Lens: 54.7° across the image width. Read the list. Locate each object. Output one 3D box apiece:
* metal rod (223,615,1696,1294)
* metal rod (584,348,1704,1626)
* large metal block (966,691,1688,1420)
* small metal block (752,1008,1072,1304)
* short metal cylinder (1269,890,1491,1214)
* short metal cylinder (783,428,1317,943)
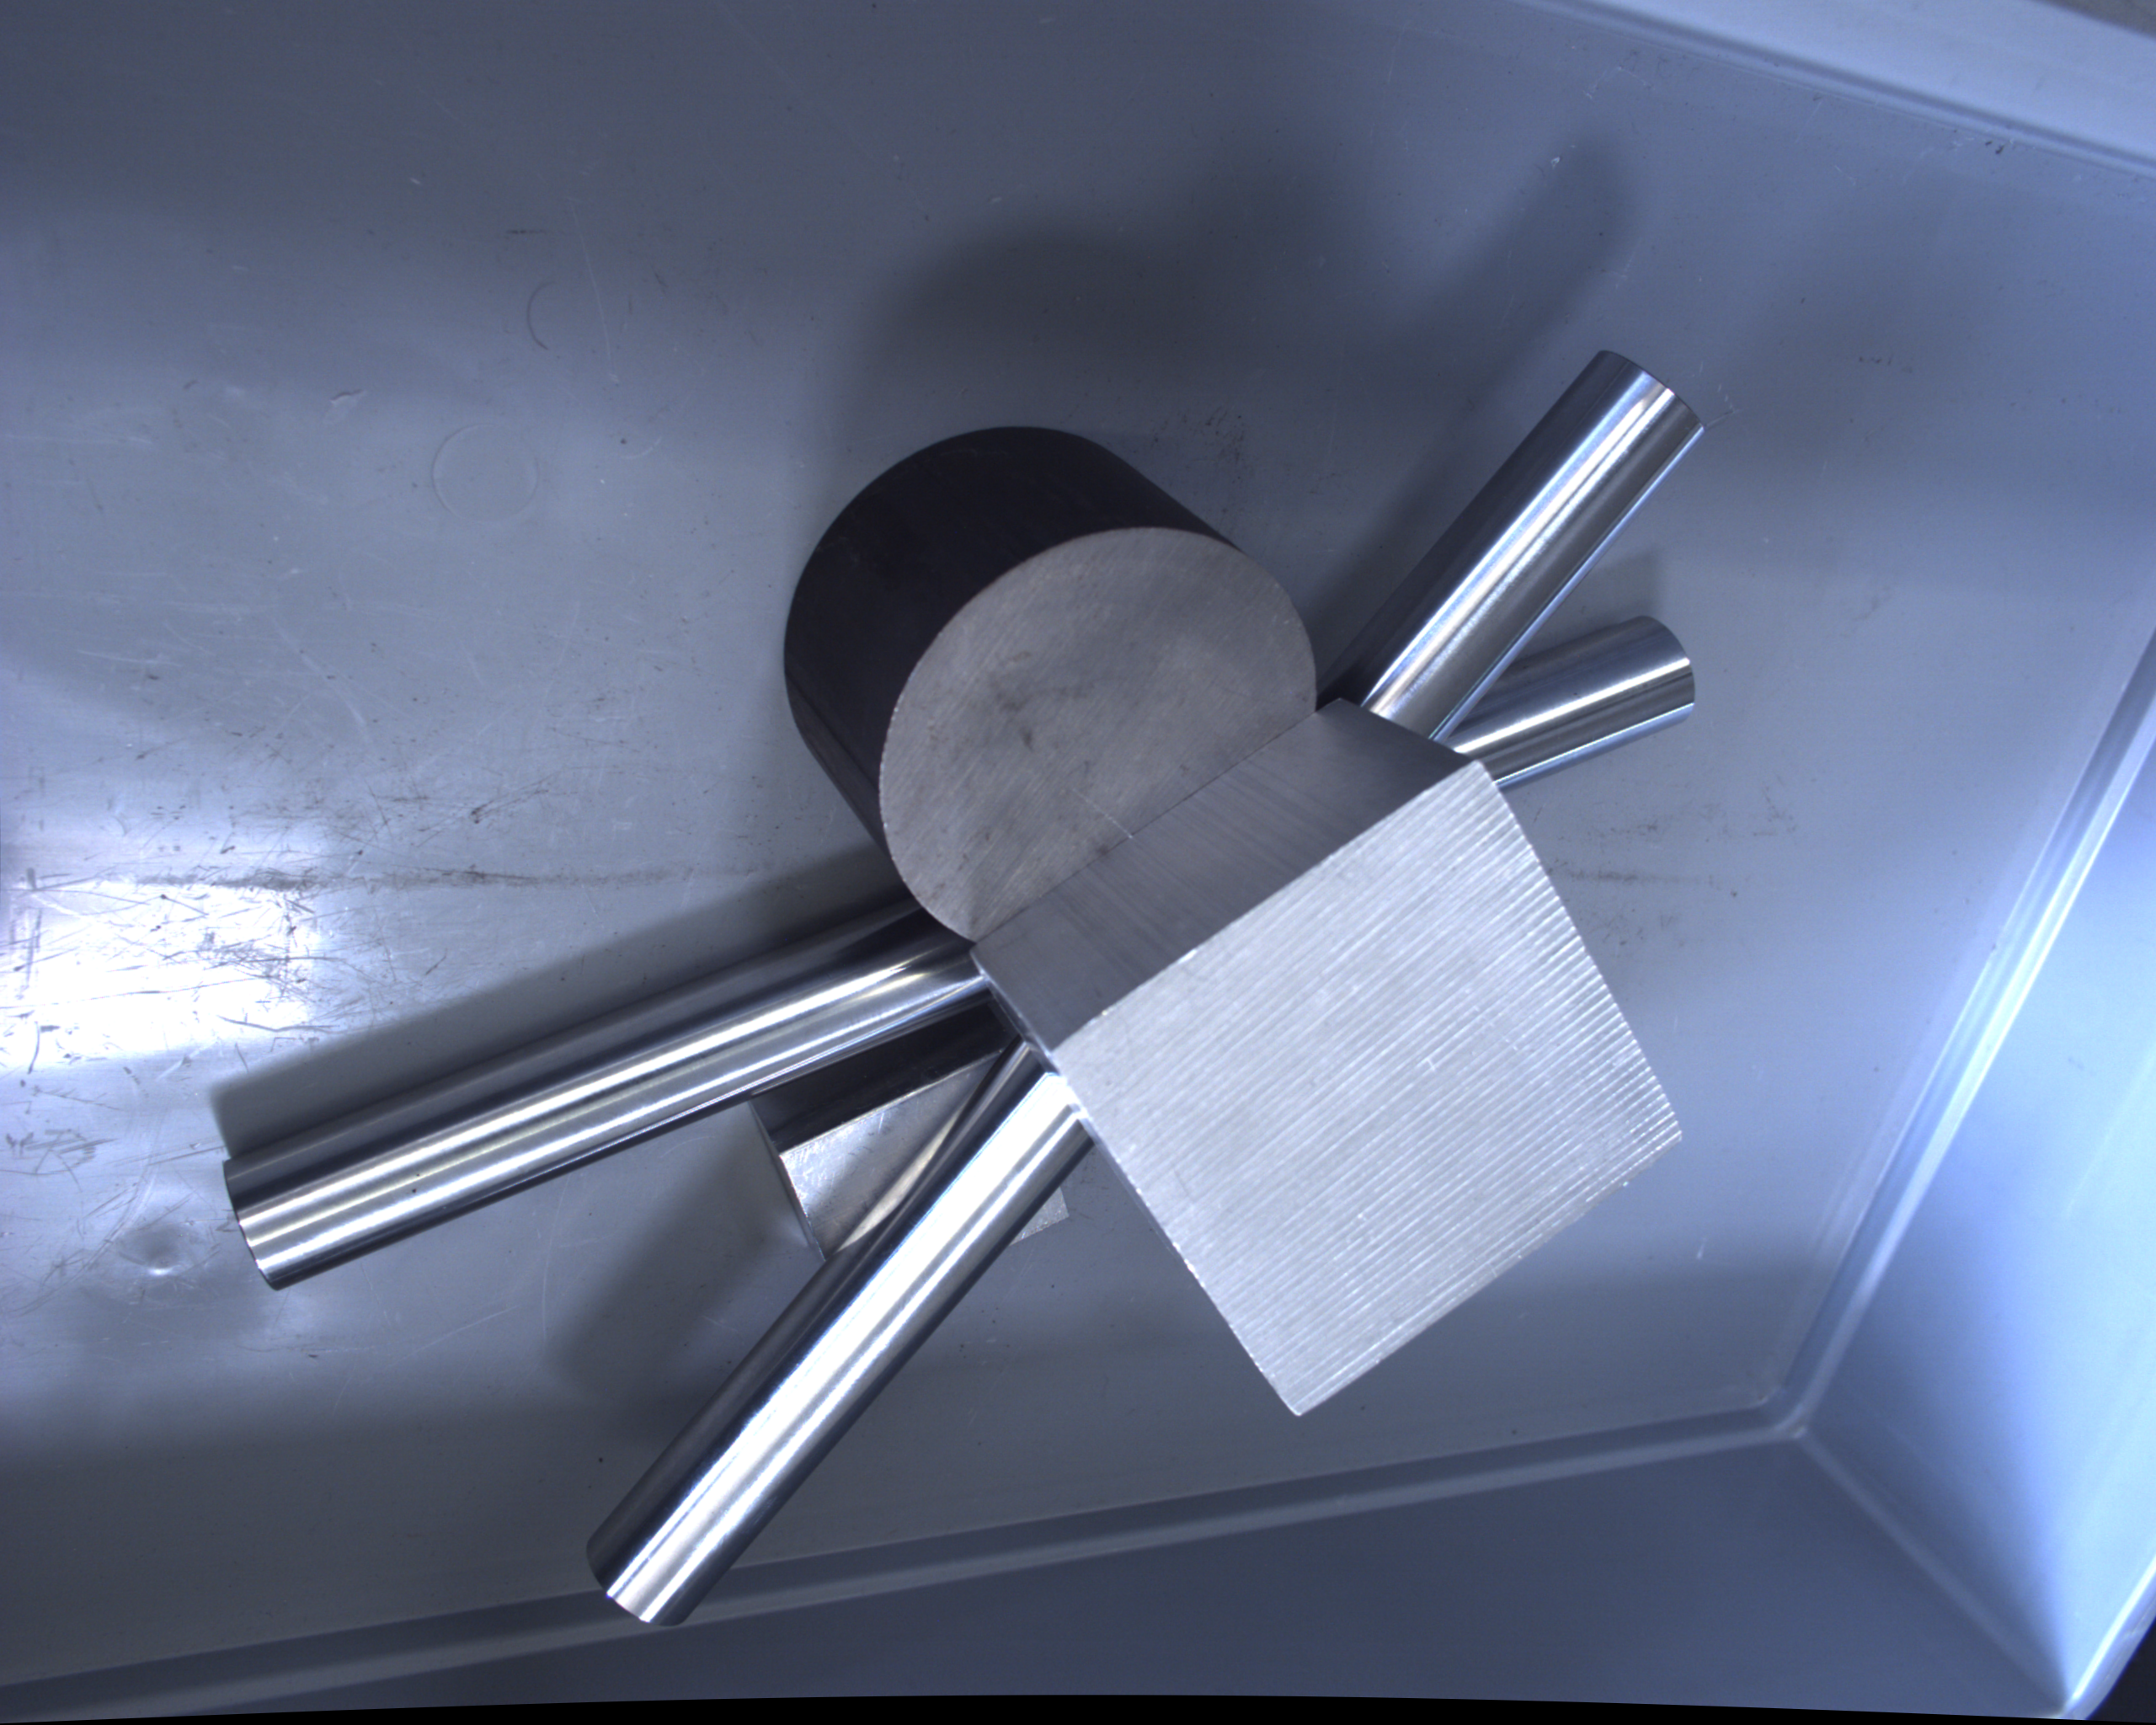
[{"bbox_3d":[-0.010,0.011,0.408,0.302,0.025,0.025,-21,127,-16],"label":"metal rod"},{"bbox_3d":[0.008,0.028,0.397,0.299,0.025,0.025,-50,129,7],"label":"metal rod"},{"bbox_3d":[0.041,0.030,0.350,0.080,0.050,0.080,-34,112,-5],"label":"large metal block"},{"bbox_3d":[-0.034,0.059,0.425,0.050,0.025,0.050,-25,128,-13],"label":"small metal block"},{"bbox_3d":[0.056,0.047,0.431,0.050,0.080,0.080,-37,129,-3],"label":"short metal cylinder"},{"bbox_3d":[-0.006,-0.030,0.369,0.081,0.050,0.079,-14,124,-21],"label":"short metal cylinder"}]
